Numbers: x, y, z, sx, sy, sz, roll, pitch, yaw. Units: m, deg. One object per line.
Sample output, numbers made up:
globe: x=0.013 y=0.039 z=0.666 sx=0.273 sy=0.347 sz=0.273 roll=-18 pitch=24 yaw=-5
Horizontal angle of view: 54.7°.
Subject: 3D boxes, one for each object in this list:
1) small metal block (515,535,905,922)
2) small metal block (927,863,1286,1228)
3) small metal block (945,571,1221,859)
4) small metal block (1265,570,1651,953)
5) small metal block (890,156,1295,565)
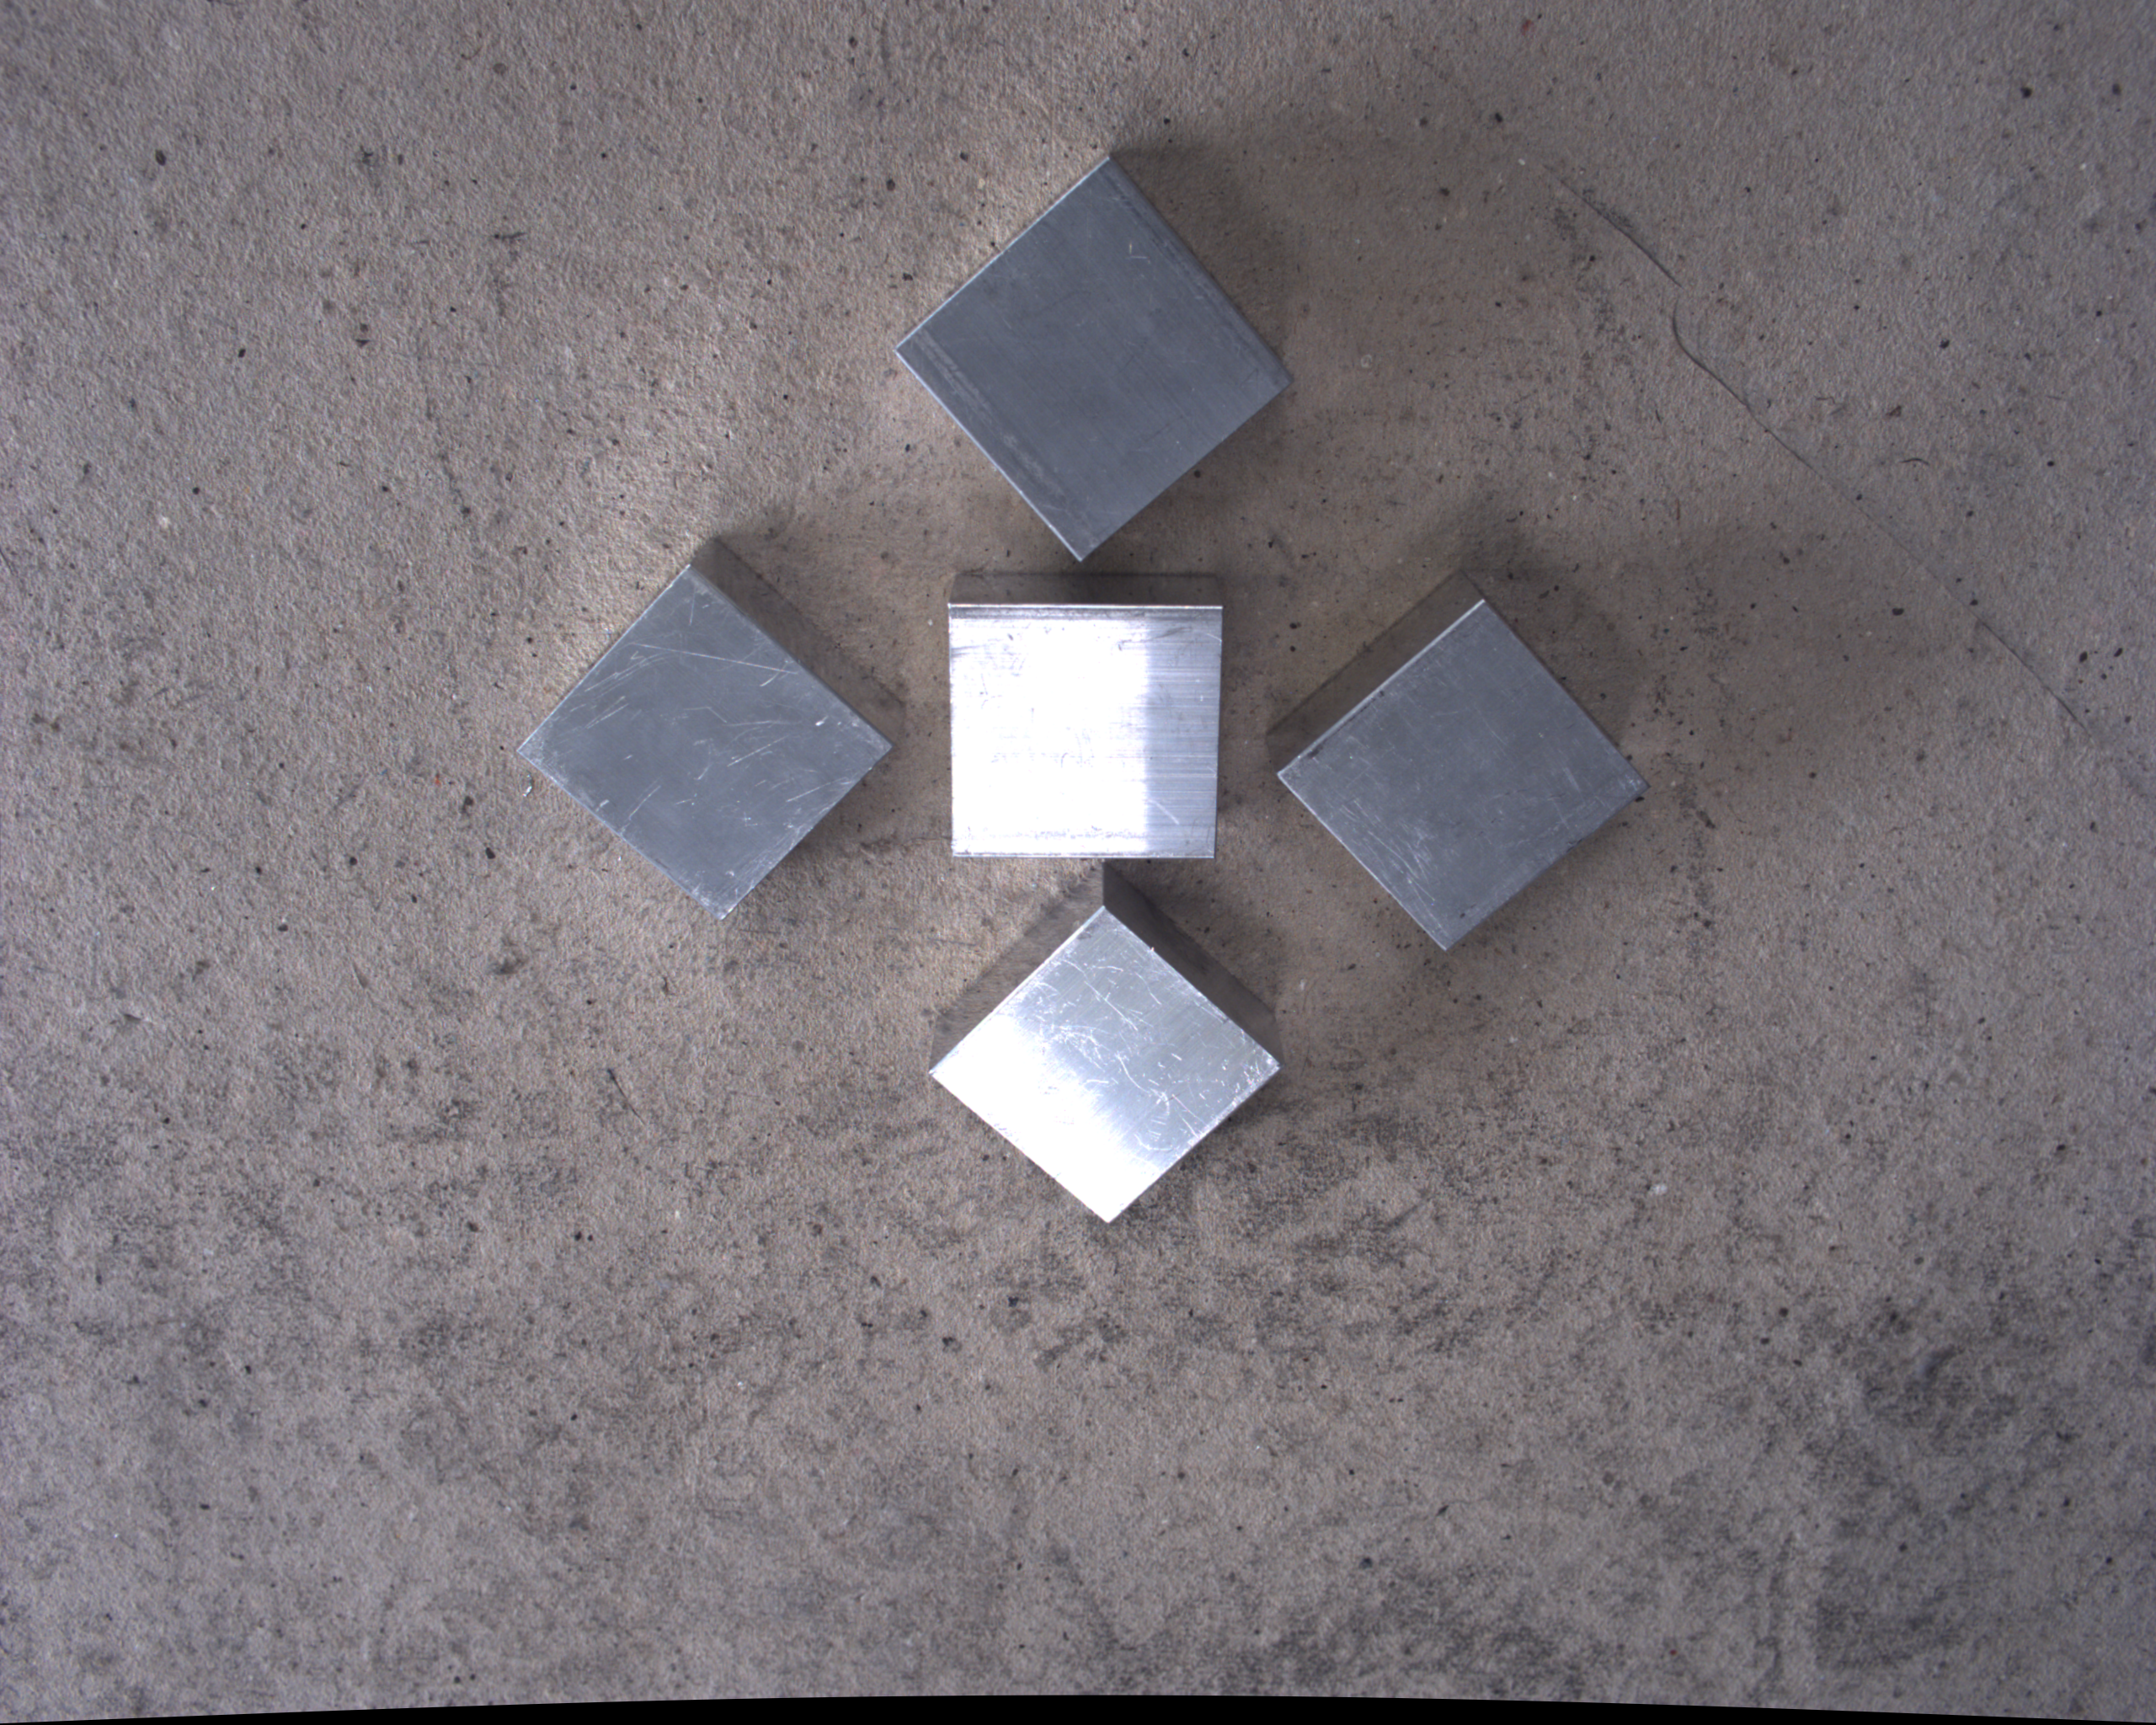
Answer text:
small metal block: x=-0.070 y=-0.026 z=0.401 sx=0.050 sy=0.025 sz=0.050 roll=42 pitch=104 yaw=-14
small metal block: x=0.005 y=0.037 z=0.425 sx=0.050 sy=0.025 sz=0.050 roll=42 pitch=104 yaw=-14
small metal block: x=0.001 y=-0.028 z=0.400 sx=0.050 sy=0.025 sz=0.050 roll=0 pitch=110 yaw=0
small metal block: x=0.073 y=-0.020 z=0.405 sx=0.050 sy=0.025 sz=0.050 roll=-41 pitch=106 yaw=14
small metal block: x=0.003 y=-0.091 z=0.377 sx=0.050 sy=0.025 sz=0.050 roll=-39 pitch=105 yaw=12
